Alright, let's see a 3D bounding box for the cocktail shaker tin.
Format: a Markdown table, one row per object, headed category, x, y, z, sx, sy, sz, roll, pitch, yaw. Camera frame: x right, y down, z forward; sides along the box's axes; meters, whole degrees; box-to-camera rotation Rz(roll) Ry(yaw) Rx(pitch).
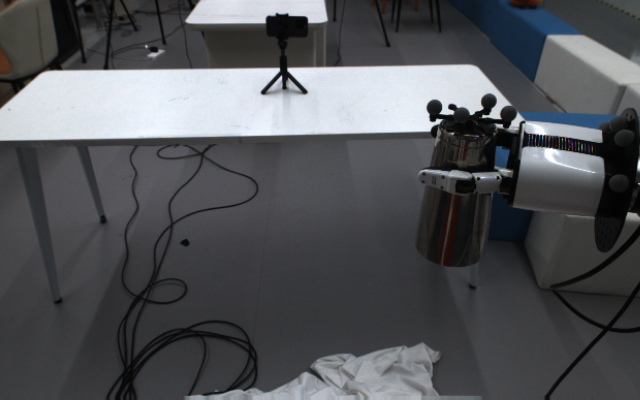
| category | x | y | z | sx | sy | sz | roll | pitch | yaw |
| --- | --- | --- | --- | --- | --- | --- | --- | --- | --- |
| cocktail shaker tin | 0.176 | -0.016 | 0.601 | 0.093 | 0.170 | 0.093 | -1 | 32 | 1 |
